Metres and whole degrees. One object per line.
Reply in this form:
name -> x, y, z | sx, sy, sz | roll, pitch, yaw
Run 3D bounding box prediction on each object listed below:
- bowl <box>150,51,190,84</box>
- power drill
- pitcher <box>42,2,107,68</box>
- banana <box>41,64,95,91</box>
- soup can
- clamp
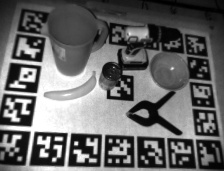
bowl -> 0.212, -0.066, 0.826 | 0.162, 0.055, 0.161 | 3, 73, -10
power drill -> 0.122, -0.160, 0.748 | 0.185, 0.186, 0.057 | 2, 71, -11
pitcher -> -0.113, -0.157, 0.687 | 0.190, 0.242, 0.132 | -17, 72, -16
banana -> -0.141, -0.018, 0.747 | 0.199, 0.039, 0.074 | -18, 68, -19
soup can -> -0.010, -0.062, 0.754 | 0.068, 0.102, 0.067 | 5, 62, -9
clamp -> 0.143, 0.077, 0.767 | 0.204, 0.036, 0.165 | 5, 75, -11
